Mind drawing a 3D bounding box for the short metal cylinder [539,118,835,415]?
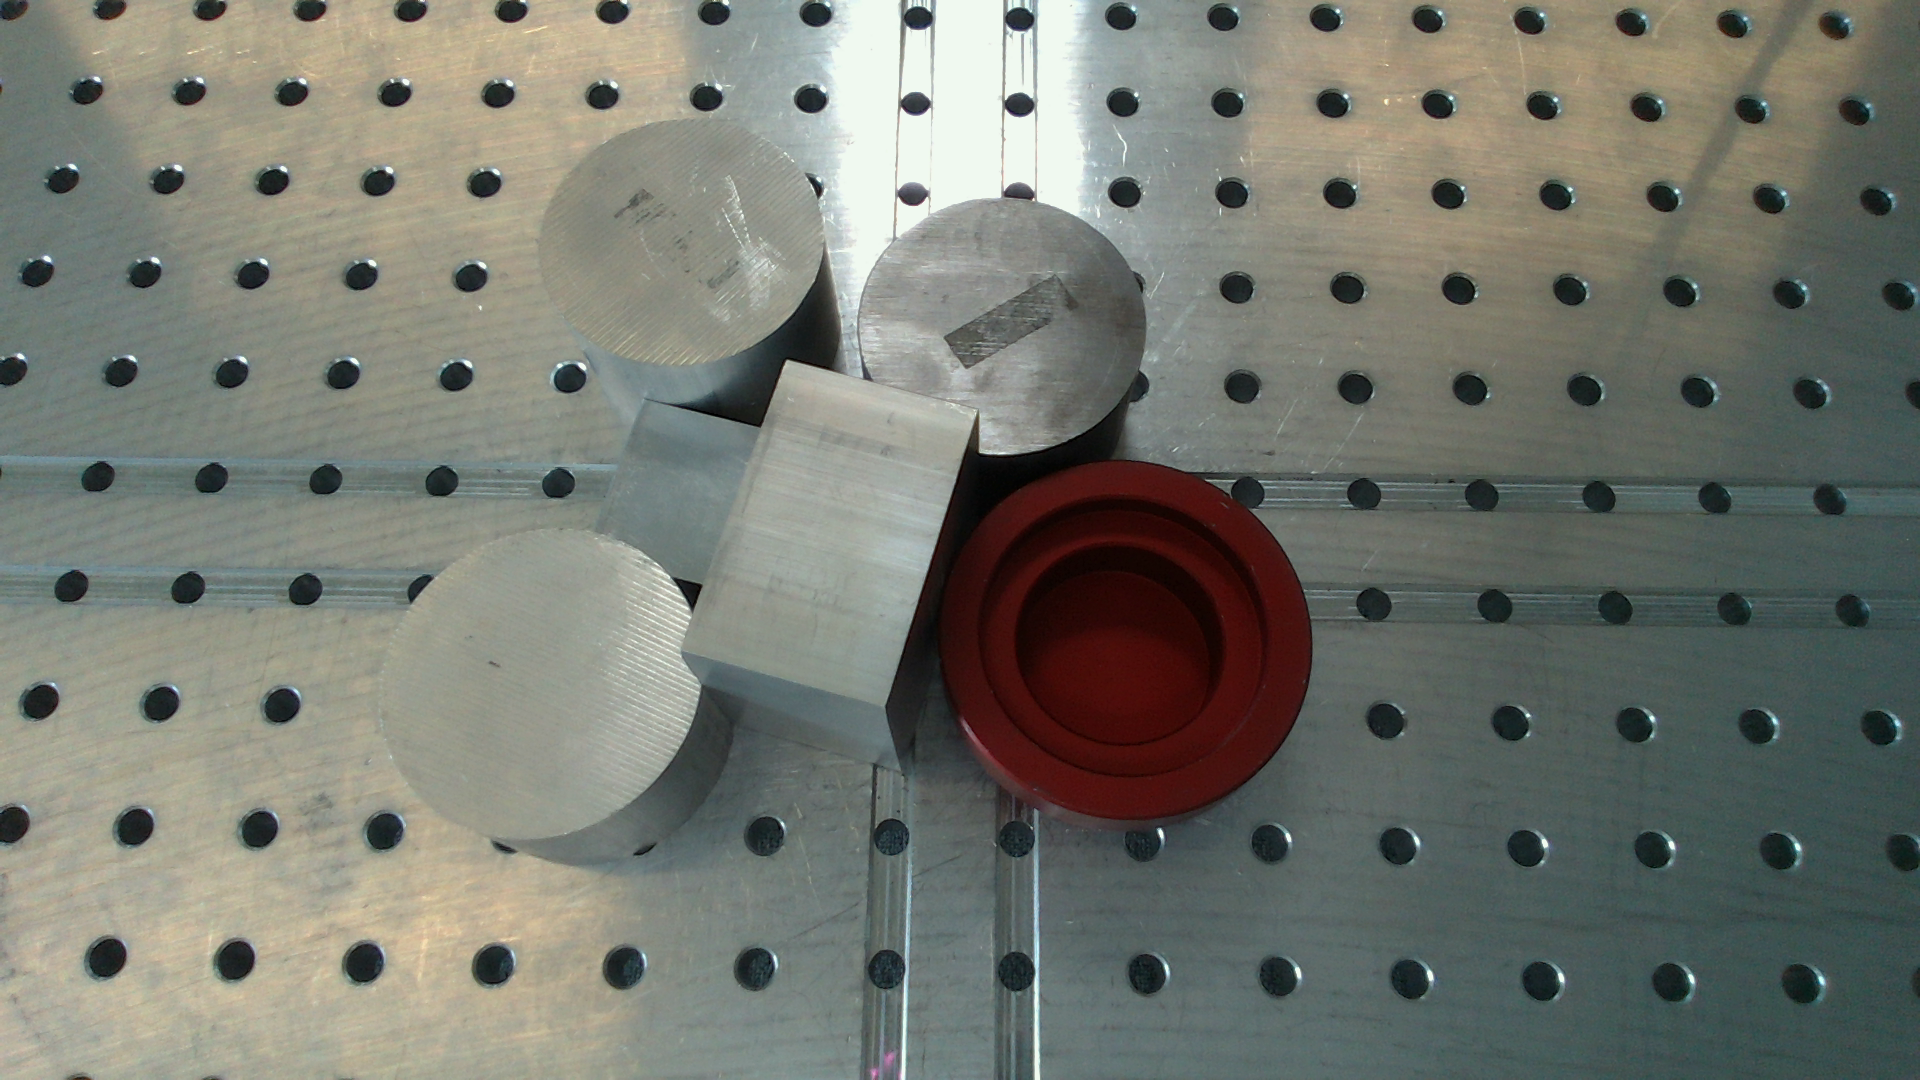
[{"bbox_3d":[-0.078,-0.077,0.411,0.080,0.050,0.080,0,70,0],"label":"short metal cylinder"}]

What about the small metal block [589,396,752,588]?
[{"bbox_3d":[-0.075,-0.009,0.400,0.050,0.025,0.050,14,71,5],"label":"small metal block"}]

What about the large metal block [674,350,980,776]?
[{"bbox_3d":[-0.030,0.010,0.361,0.050,0.080,0.080,15,71,6],"label":"large metal block"}]

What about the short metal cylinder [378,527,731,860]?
[{"bbox_3d":[-0.105,0.043,0.368,0.080,0.050,0.080,0,70,0],"label":"short metal cylinder"}]

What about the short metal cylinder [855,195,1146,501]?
[{"bbox_3d":[0.011,-0.052,0.403,0.080,0.050,0.080,0,70,0],"label":"short metal cylinder"}]

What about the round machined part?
[{"bbox_3d":[0.043,0.031,0.377,0.098,0.042,0.098,0,70,0],"label":"round machined part"}]
